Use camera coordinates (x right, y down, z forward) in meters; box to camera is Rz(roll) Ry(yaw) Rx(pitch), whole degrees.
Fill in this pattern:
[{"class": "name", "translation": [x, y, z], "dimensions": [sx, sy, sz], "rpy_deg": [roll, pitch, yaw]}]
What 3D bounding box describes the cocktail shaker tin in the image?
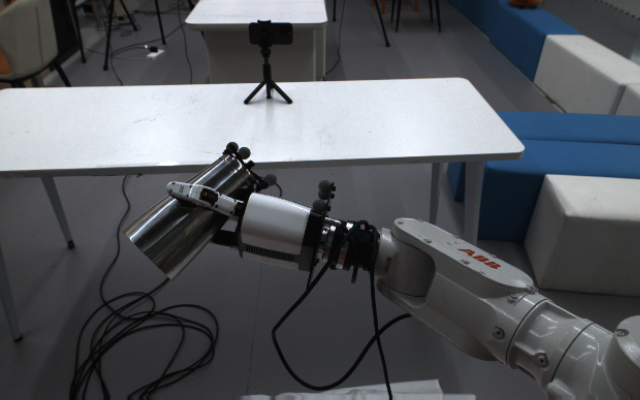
[{"class": "cocktail shaker tin", "translation": [-0.168, 0.012, 0.654], "dimensions": [0.170, 0.093, 0.093], "rpy_deg": [-43, 52, -19]}]
